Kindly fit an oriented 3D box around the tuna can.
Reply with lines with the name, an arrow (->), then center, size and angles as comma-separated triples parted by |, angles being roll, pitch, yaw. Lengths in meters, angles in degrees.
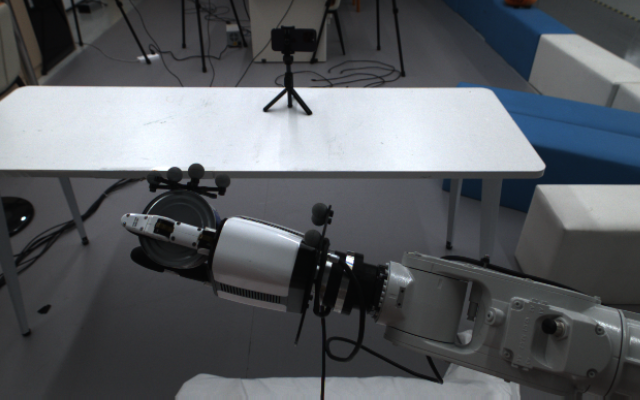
tuna can -> -0.152, 0.033, 0.539 | 0.085, 0.034, 0.085 | -1, 77, 4
